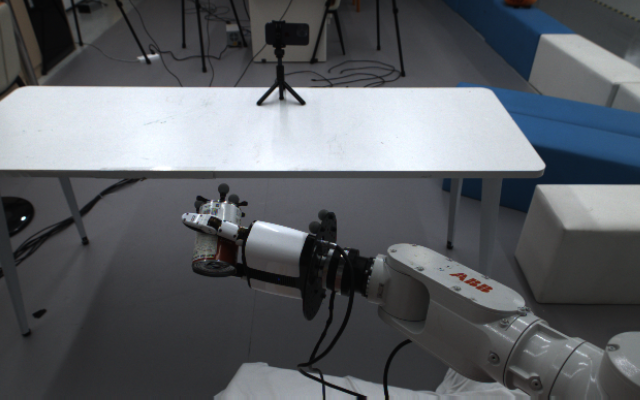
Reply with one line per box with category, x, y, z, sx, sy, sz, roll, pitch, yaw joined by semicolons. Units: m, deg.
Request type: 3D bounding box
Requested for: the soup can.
soup can;-0.155;0.060;0.739;0.067;0.067;0.101;0;61;-3
